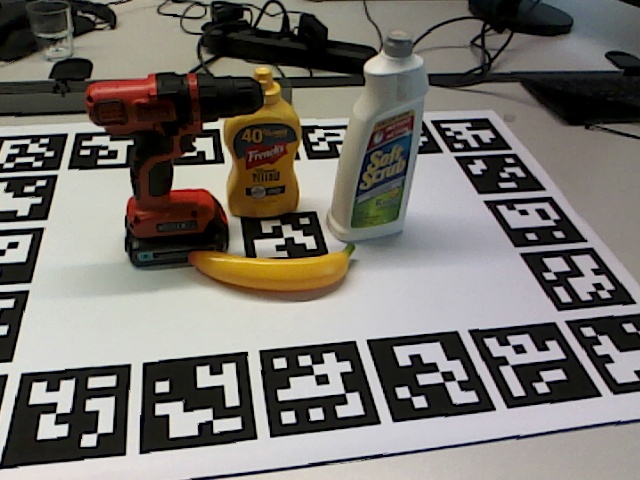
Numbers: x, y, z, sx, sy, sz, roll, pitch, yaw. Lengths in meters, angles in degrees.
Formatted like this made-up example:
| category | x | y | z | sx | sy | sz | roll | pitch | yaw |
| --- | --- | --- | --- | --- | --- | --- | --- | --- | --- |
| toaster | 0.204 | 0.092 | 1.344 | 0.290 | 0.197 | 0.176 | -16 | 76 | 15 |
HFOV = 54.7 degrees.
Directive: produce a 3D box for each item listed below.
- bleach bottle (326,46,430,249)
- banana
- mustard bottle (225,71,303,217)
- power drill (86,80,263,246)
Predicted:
| category | x | y | z | sx | sy | sz | roll | pitch | yaw |
| --- | --- | --- | --- | --- | --- | --- | --- | --- | --- |
| bleach bottle | 0.069 | -0.105 | 0.735 | 0.102 | 0.250 | 0.068 | -9 | 43 | -17 |
| banana | -0.045 | 0.030 | 0.710 | 0.197 | 0.039 | 0.074 | -3 | 45 | -6 |
| mustard bottle | -0.070 | -0.118 | 0.769 | 0.096 | 0.191 | 0.059 | -2 | 40 | -11 |
| power drill | -0.157 | -0.087 | 0.694 | 0.184 | 0.186 | 0.057 | -4 | 34 | -14 |
